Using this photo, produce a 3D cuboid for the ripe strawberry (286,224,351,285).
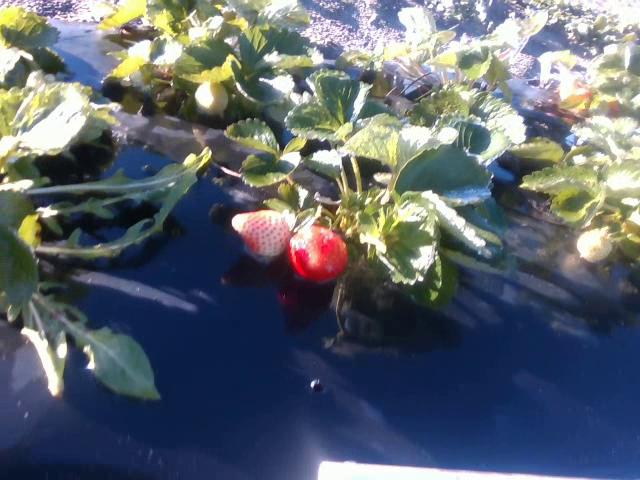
[{"bbox_3d":[0.000,0.008,0.364,0.040,0.038,0.056,-13,-7,4],"label":"ripe strawberry"}]
